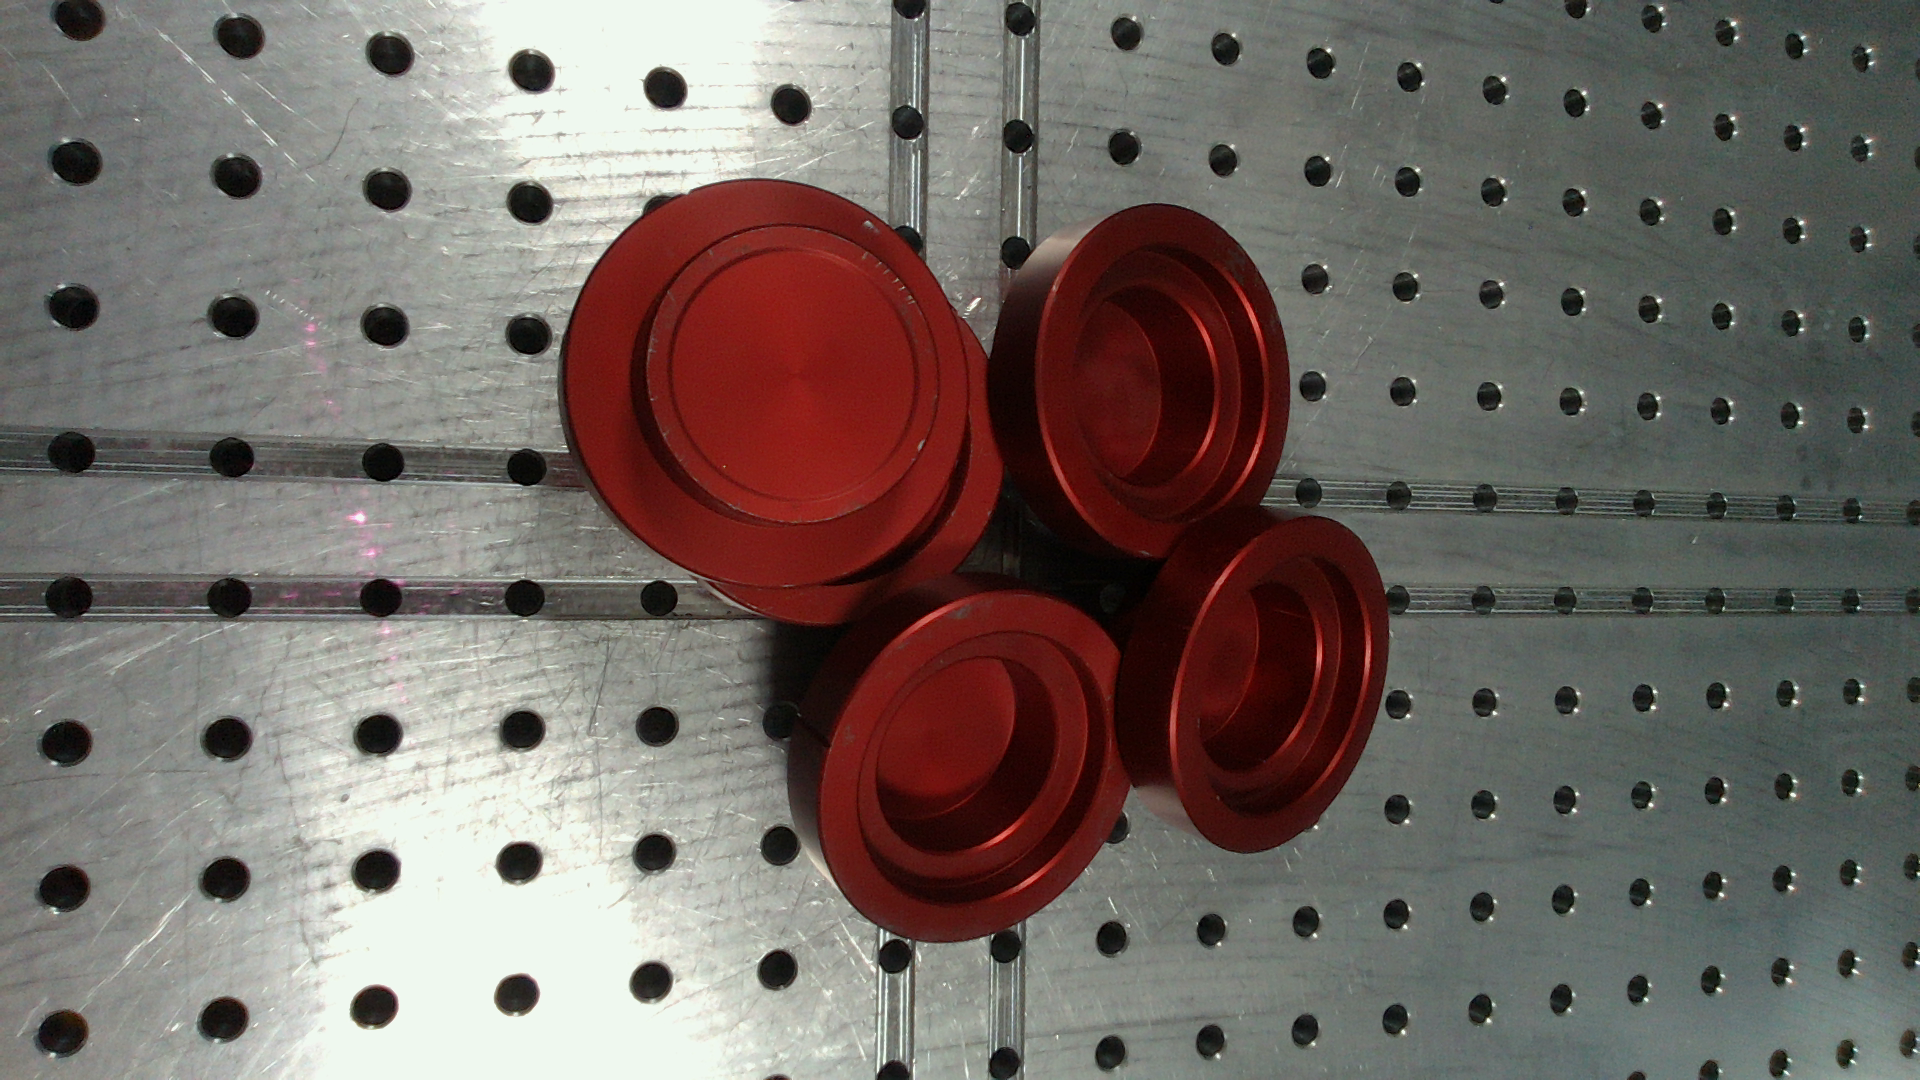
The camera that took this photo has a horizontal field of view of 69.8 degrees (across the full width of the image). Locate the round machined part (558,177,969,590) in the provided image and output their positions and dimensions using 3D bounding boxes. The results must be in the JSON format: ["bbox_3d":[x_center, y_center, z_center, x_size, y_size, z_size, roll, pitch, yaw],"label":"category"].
[{"bbox_3d":[-0.044,-0.037,0.326,0.098,0.042,0.098,0,90,-20],"label":"round machined part"}]

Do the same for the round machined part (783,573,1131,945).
[{"bbox_3d":[-0.003,0.056,0.377,0.098,0.042,0.098,-9,108,-28],"label":"round machined part"}]

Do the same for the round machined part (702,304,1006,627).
[{"bbox_3d":[-0.040,-0.027,0.372,0.098,0.042,0.098,0,90,-20],"label":"round machined part"}]

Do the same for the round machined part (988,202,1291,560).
[{"bbox_3d":[0.046,-0.044,0.394,0.098,0.042,0.098,-1,92,-36],"label":"round machined part"}]

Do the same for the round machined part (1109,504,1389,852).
[{"bbox_3d":[0.080,0.038,0.404,0.098,0.042,0.098,-11,107,-39],"label":"round machined part"}]
